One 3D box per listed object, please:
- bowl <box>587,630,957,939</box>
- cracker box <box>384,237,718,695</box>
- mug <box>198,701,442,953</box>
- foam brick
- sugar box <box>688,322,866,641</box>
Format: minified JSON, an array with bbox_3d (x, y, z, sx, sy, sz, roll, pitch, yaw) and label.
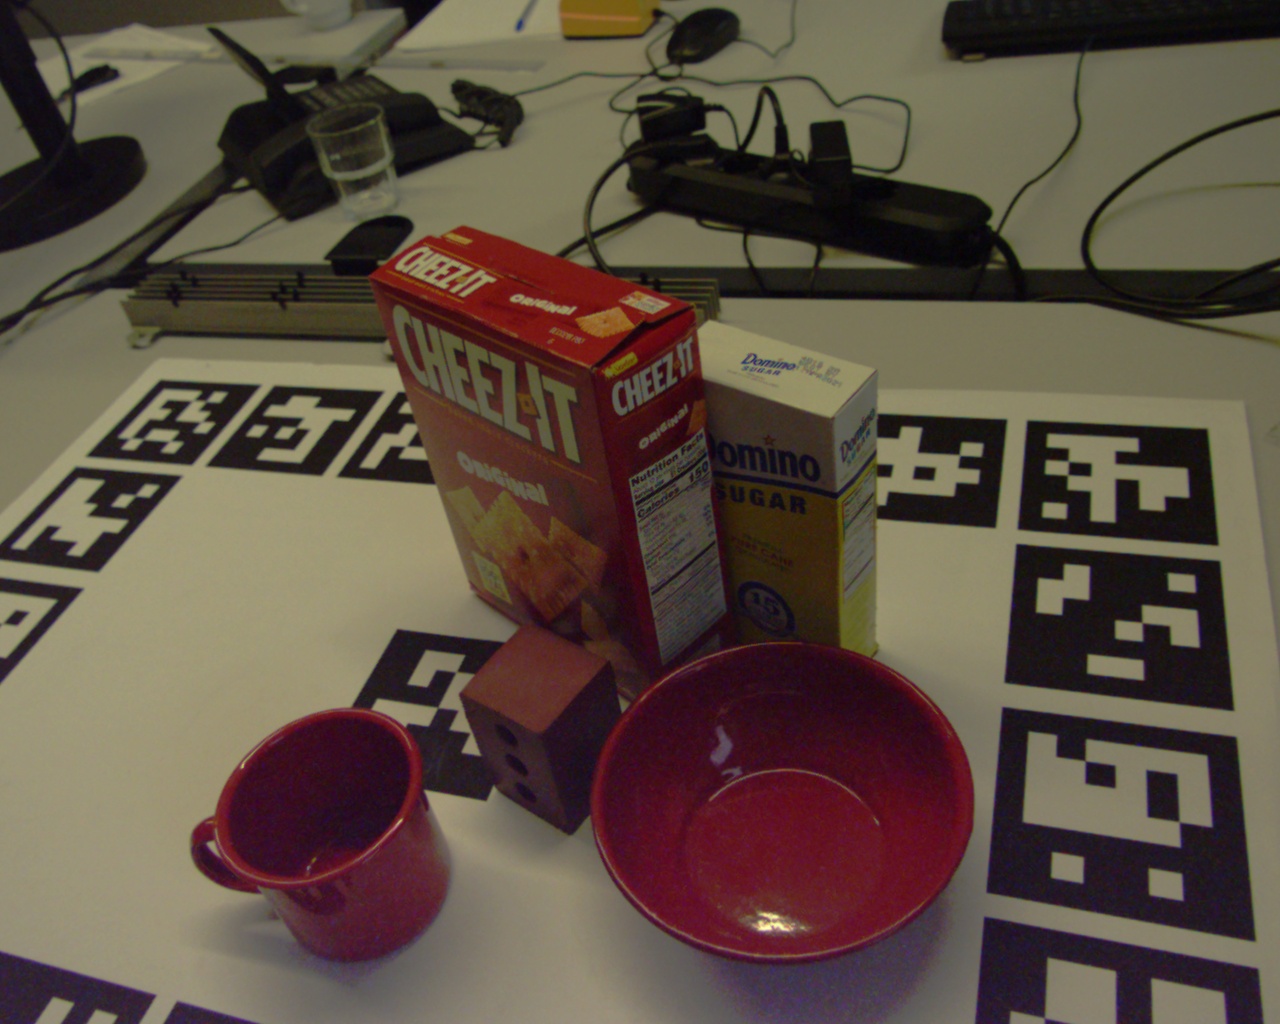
[{"bbox_3d":[0.059,0.130,0.519,0.162,0.055,0.162,-8,42,6],"label":"bowl"},{"bbox_3d":[-0.045,-0.019,0.613,0.071,0.212,0.166,-35,46,-28],"label":"cracker box"},{"bbox_3d":[-0.153,0.151,0.541,0.118,0.081,0.093,-3,33,14],"label":"mug"},{"bbox_3d":[-0.048,0.103,0.584,0.053,0.077,0.051,16,47,30],"label":"foam brick"},{"bbox_3d":[0.066,-0.007,0.596,0.094,0.175,0.045,22,51,34],"label":"sugar box"}]
